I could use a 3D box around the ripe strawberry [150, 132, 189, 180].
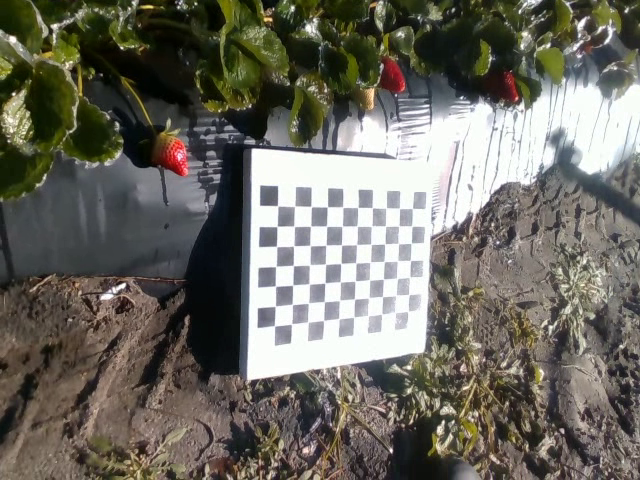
[{"bbox_3d":[-0.153,-0.087,0.620,0.039,0.053,0.040,-27,2,-30],"label":"ripe strawberry"}]
